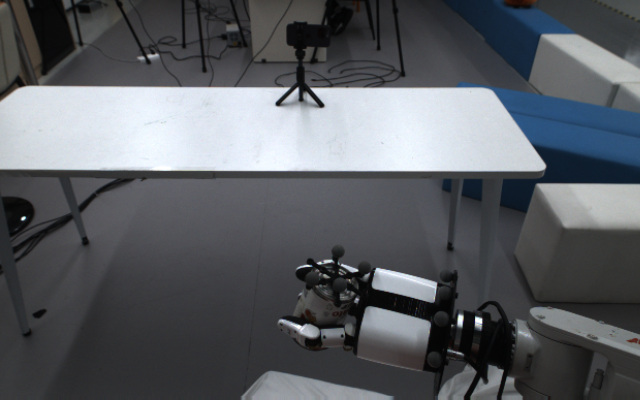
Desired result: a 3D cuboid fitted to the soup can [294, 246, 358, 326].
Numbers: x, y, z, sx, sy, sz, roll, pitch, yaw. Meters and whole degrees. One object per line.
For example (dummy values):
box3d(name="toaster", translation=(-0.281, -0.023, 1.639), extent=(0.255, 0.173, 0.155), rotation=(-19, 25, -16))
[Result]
box3d(name="soup can", translation=(0.005, 0.141, 0.637), extent=(0.067, 0.101, 0.067), rotation=(14, 35, -10))
